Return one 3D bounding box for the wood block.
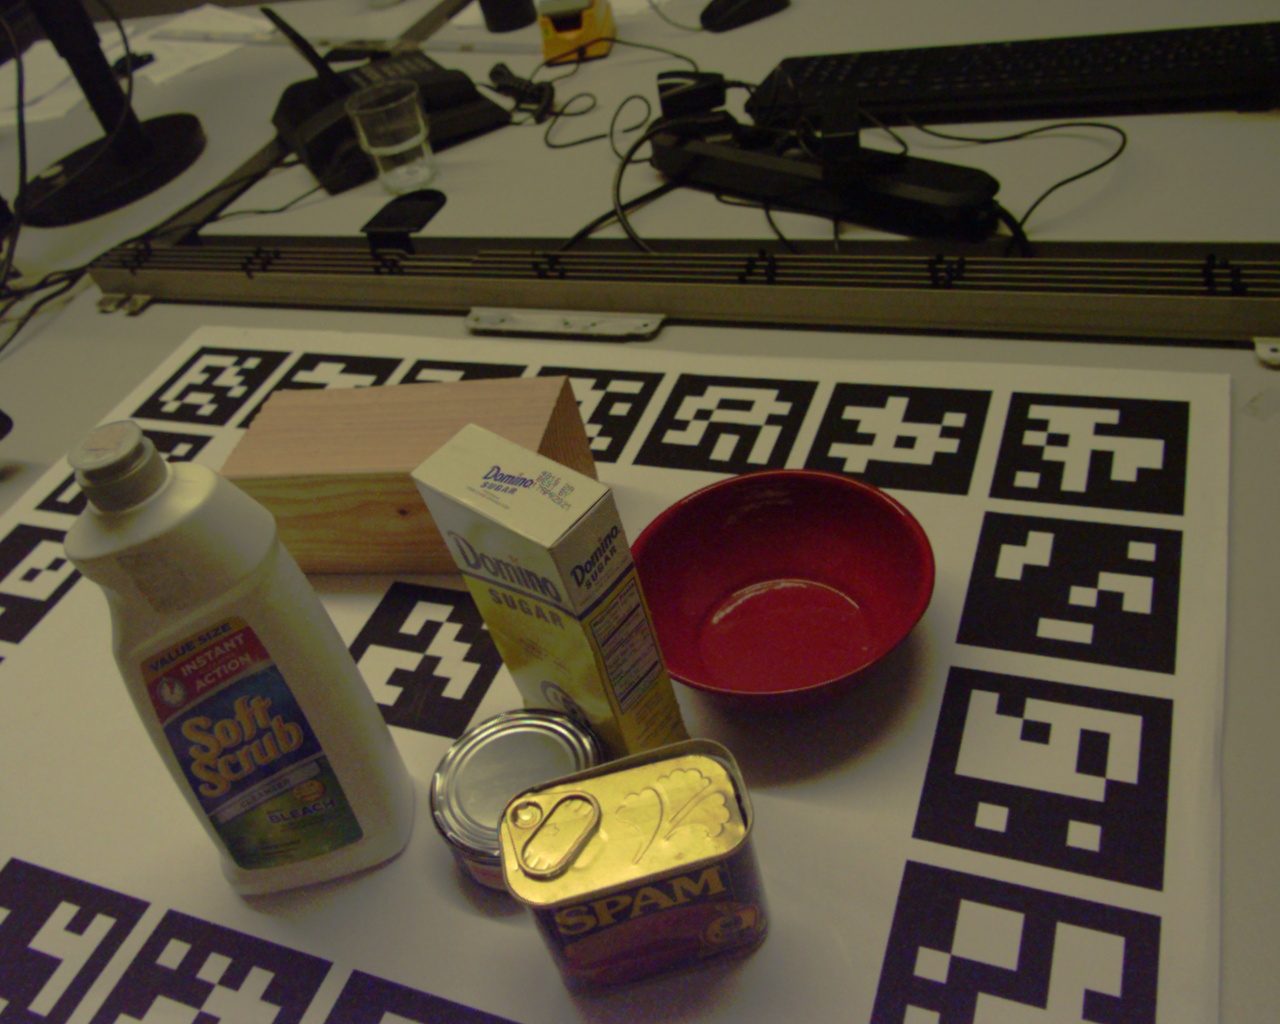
[{"bbox_3d":[-0.152,-0.020,0.750,0.208,0.089,0.091,-1,47,16],"label":"wood block"}]

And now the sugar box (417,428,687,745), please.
[{"bbox_3d":[-0.039,0.047,0.564,0.094,0.175,0.045,22,55,40],"label":"sugar box"}]

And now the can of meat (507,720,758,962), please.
[{"bbox_3d":[0.000,0.151,0.516,0.102,0.083,0.058,-14,37,-1],"label":"can of meat"}]

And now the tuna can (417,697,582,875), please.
[{"bbox_3d":[-0.067,0.139,0.578,0.086,0.033,0.086,-10,44,9],"label":"tuna can"}]

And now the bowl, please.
[{"bbox_3d":[0.074,0.045,0.626,0.162,0.055,0.162,-12,39,9],"label":"bowl"}]

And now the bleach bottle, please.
[{"bbox_3d":[-0.188,0.069,0.536,0.103,0.249,0.068,-12,39,4],"label":"bleach bottle"}]
